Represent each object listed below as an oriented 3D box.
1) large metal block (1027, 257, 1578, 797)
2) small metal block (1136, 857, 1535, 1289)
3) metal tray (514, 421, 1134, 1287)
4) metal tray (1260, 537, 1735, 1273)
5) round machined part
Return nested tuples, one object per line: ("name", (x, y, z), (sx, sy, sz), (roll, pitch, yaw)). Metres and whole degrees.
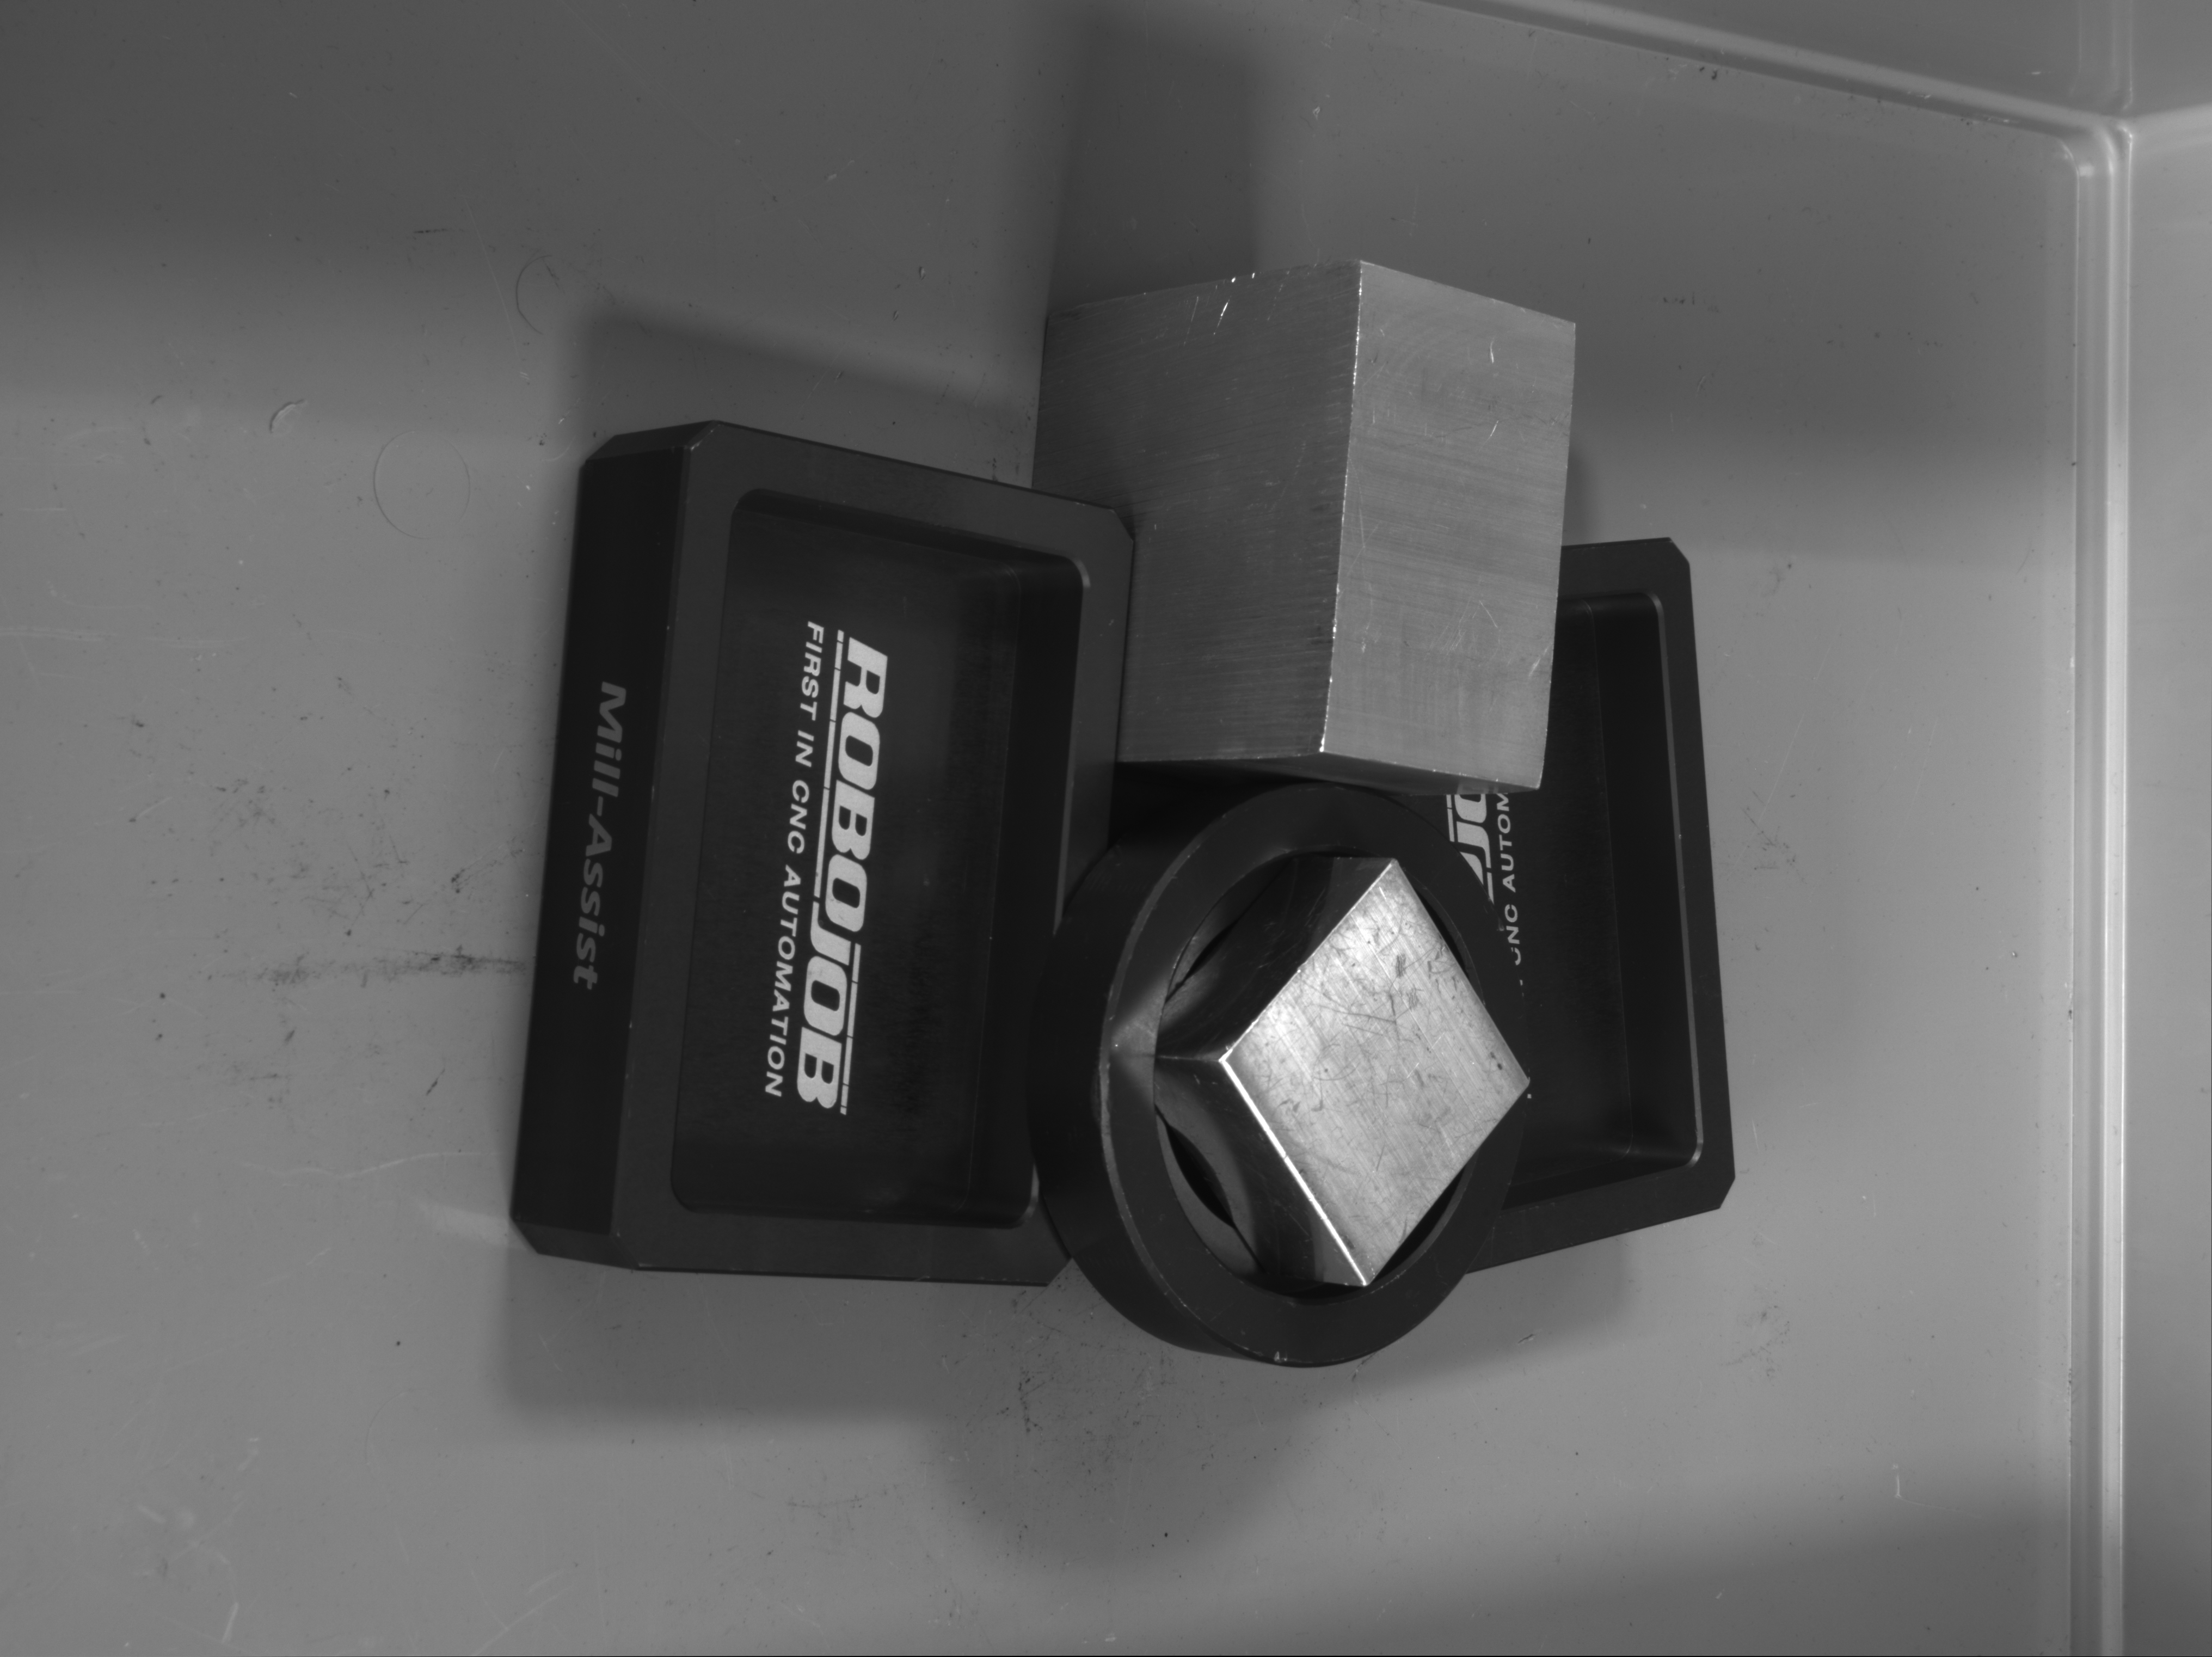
("large metal block", (0.031, -0.048, 0.624), (0.050, 0.080, 0.080), (8, 85, -39))
("small metal block", (0.038, 0.040, 0.611), (0.050, 0.025, 0.050), (-47, 118, -30))
("metal tray", (-0.044, 0.007, 0.595), (0.090, 0.030, 0.130), (8, 85, -39))
("metal tray", (0.074, 0.013, 0.692), (0.090, 0.030, 0.130), (-8, 95, -39))
("round machined part", (0.025, 0.041, 0.632), (0.098, 0.042, 0.098), (0, 90, -40))
